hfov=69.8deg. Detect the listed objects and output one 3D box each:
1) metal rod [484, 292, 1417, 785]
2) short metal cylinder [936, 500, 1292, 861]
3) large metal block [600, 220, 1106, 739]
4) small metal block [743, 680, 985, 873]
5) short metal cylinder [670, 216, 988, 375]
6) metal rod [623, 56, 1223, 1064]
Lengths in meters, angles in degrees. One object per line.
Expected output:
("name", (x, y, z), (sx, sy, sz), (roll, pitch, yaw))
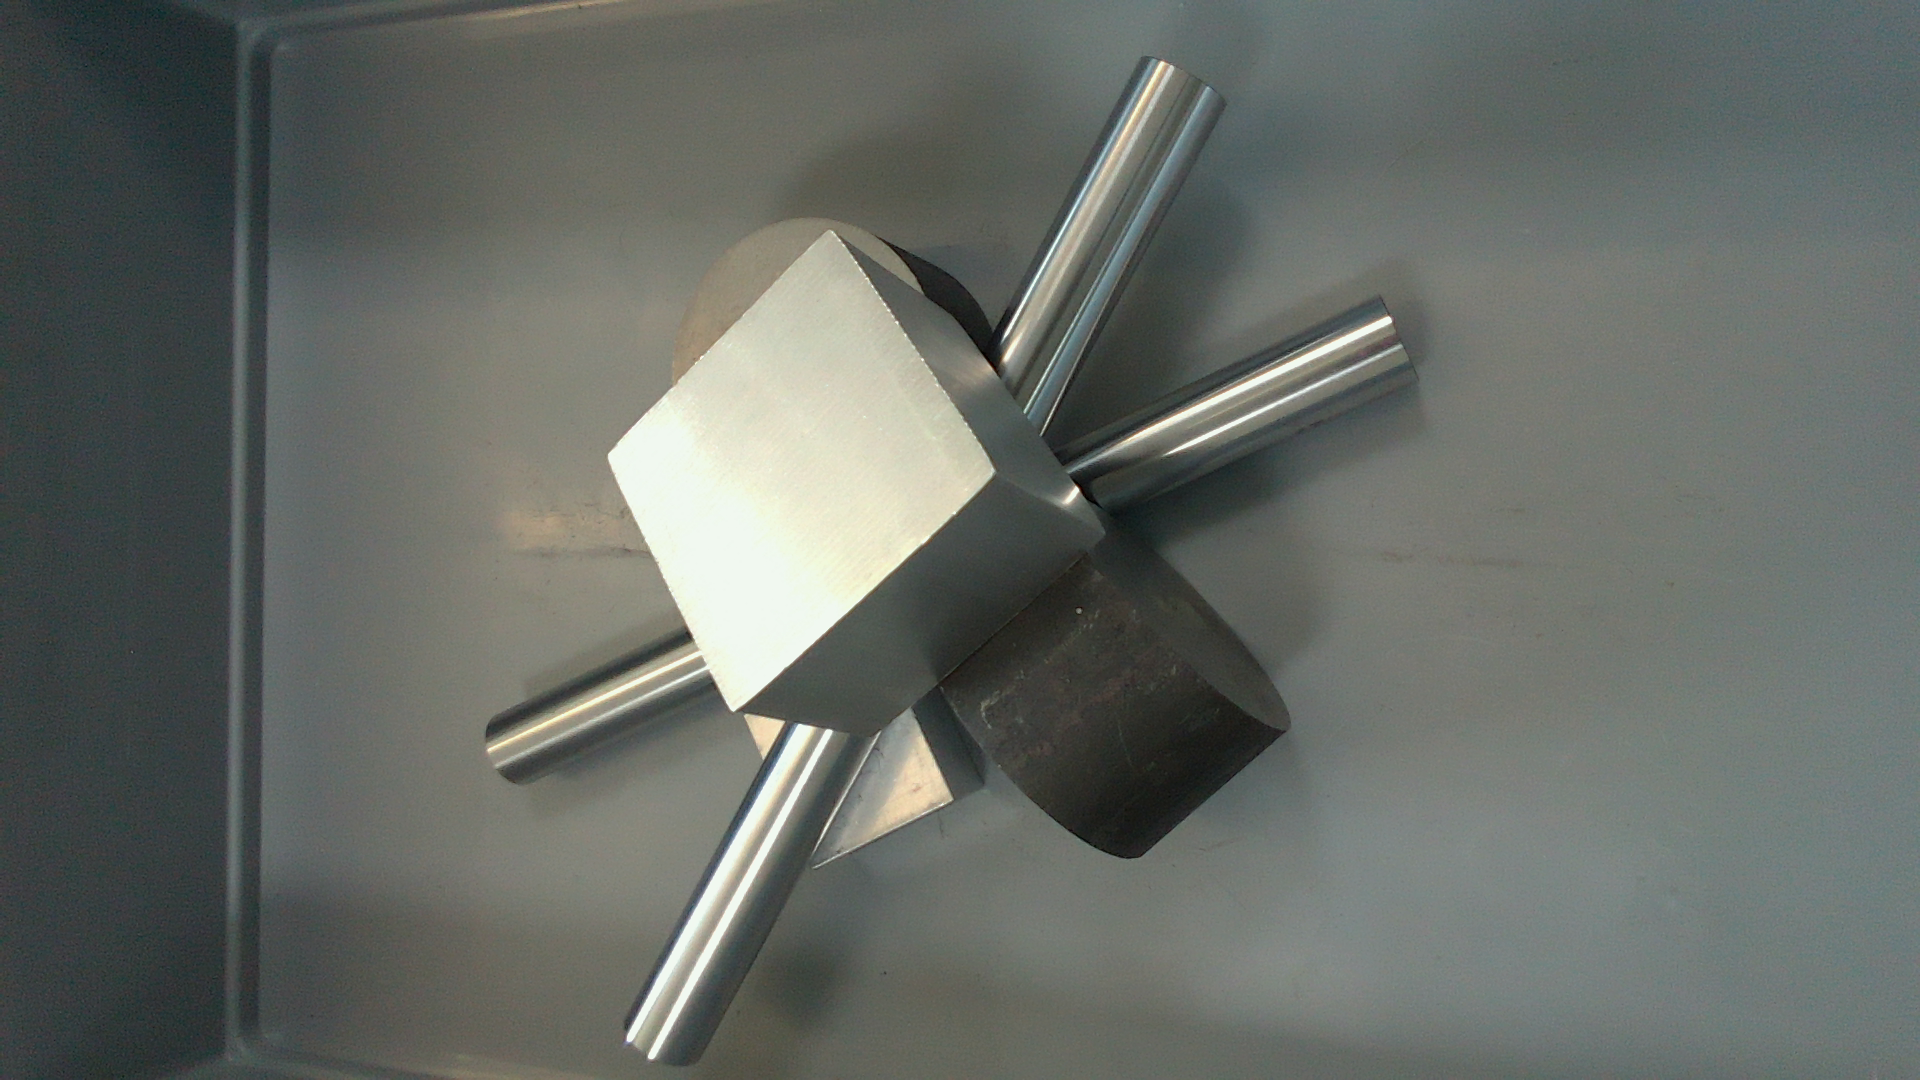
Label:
("metal rod", (-0.016, 0.008, 0.401), (0.299, 0.025, 0.025), (-25, 82, 18))
("short metal cylinder", (0.038, 0.034, 0.352), (0.050, 0.080, 0.080), (-45, 76, 15))
("large metal block", (-0.027, -0.012, 0.324), (0.080, 0.050, 0.080), (-42, 59, 16))
("small metal block", (-0.029, 0.062, 0.405), (0.050, 0.025, 0.050), (-30, 80, 18))
("short metal cylinder", (-0.035, -0.047, 0.394), (0.080, 0.050, 0.080), (0, 90, 20))
("metal rod", (-0.015, 0.013, 0.374), (0.025, 0.025, 0.300), (32, 100, 17))
